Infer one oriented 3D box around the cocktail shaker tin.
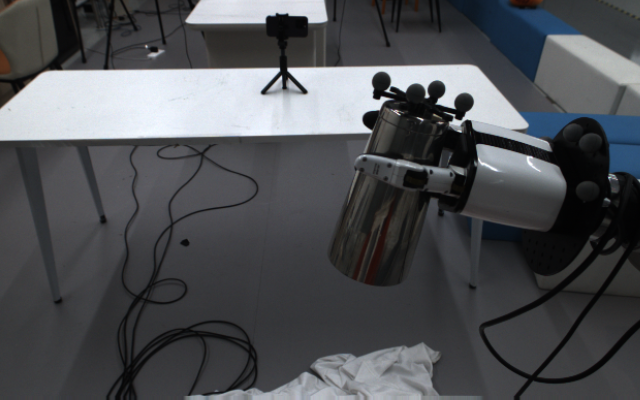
[{"bbox_3d":[0.076,-0.011,0.495,0.093,0.170,0.093,12,25,-6],"label":"cocktail shaker tin"}]
